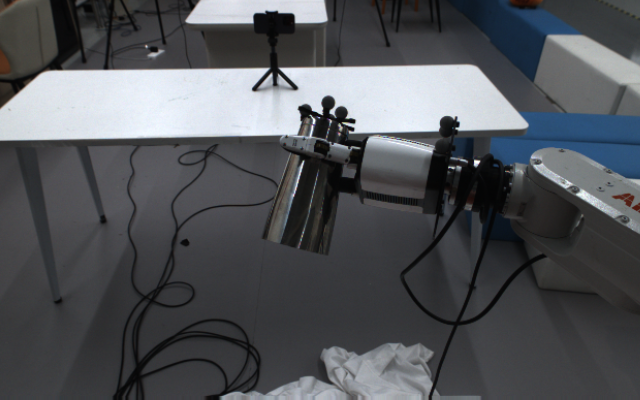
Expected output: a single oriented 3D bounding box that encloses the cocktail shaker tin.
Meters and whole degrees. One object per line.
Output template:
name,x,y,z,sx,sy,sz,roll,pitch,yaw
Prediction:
cocktail shaker tin,-0.012,-0.023,0.649,0.093,0.170,0.093,15,-5,1
